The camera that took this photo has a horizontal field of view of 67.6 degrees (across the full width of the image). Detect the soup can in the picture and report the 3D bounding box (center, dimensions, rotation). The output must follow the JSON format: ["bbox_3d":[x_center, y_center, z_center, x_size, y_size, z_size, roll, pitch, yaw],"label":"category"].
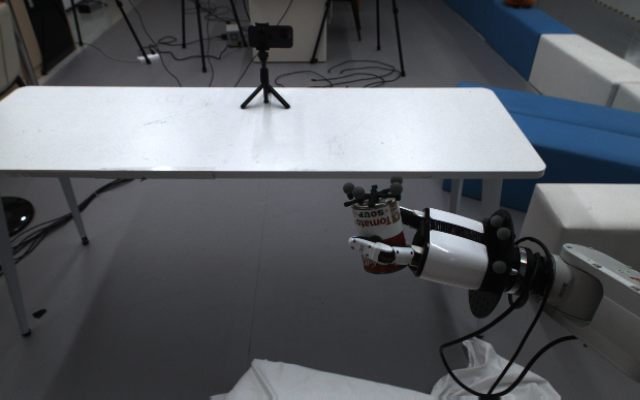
[{"bbox_3d":[0.088,0.045,0.691,0.067,0.101,0.067,-12,17,4],"label":"soup can"}]
